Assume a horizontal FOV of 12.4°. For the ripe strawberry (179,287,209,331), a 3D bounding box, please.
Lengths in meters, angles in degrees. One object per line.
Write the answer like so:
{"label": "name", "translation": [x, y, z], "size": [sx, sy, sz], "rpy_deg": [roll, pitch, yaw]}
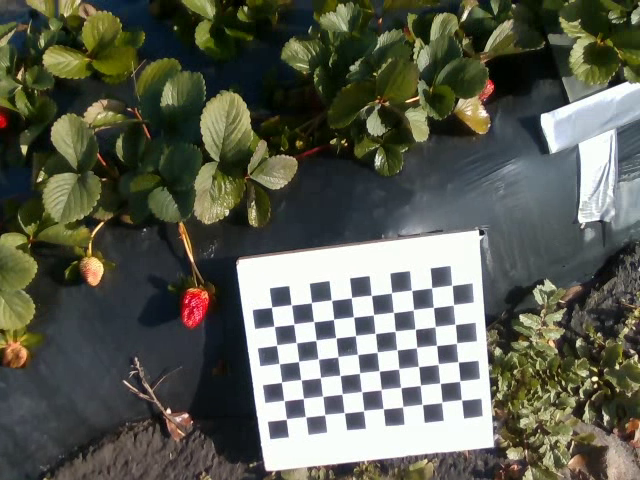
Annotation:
{"label": "ripe strawberry", "translation": [-0.055, 0.027, 1.282], "size": [0.015, 0.023, 0.015], "rpy_deg": [1, -40, 6]}
